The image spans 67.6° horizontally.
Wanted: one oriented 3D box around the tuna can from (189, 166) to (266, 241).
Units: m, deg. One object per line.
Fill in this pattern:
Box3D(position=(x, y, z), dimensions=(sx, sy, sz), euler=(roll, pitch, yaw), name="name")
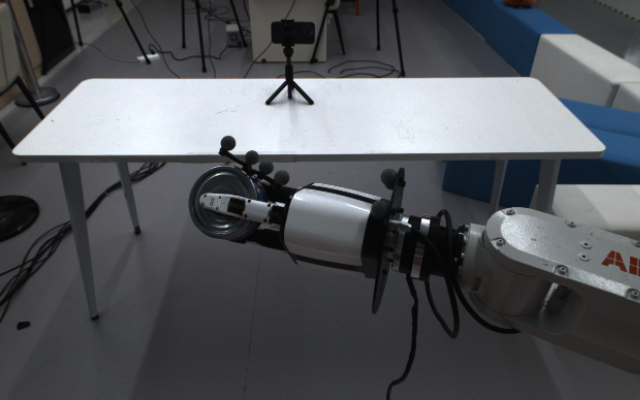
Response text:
Box3D(position=(-0.105, 0.003, 0.558), dimensions=(0.085, 0.085, 0.034), euler=(12, -4, 15), name="tuna can")
